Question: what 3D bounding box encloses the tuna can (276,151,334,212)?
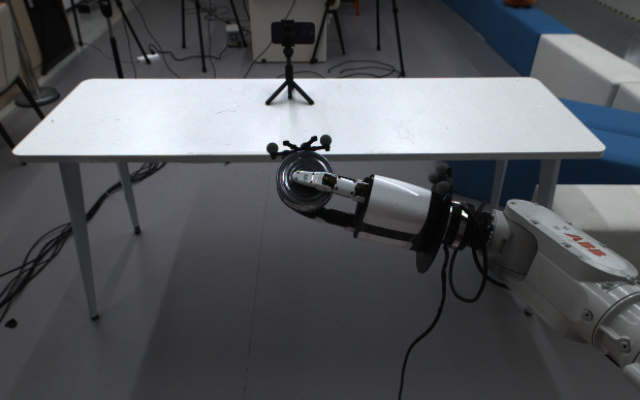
[{"bbox_3d":[-0.017,-0.022,0.696,0.085,0.034,0.085,0,72,-1],"label":"tuna can"}]
